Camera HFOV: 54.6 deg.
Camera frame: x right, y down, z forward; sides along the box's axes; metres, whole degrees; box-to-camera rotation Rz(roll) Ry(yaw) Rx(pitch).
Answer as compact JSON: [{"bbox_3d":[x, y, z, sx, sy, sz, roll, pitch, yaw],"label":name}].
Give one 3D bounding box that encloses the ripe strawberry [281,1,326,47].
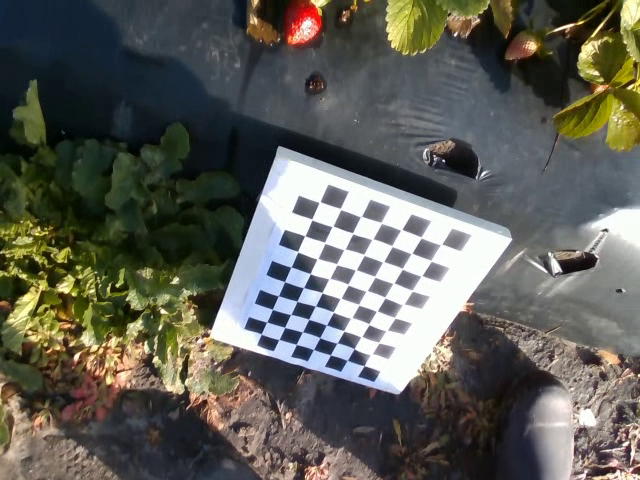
[{"bbox_3d":[-0.020,-0.178,0.528,0.046,0.054,0.037,37,-17,-21],"label":"ripe strawberry"}]
